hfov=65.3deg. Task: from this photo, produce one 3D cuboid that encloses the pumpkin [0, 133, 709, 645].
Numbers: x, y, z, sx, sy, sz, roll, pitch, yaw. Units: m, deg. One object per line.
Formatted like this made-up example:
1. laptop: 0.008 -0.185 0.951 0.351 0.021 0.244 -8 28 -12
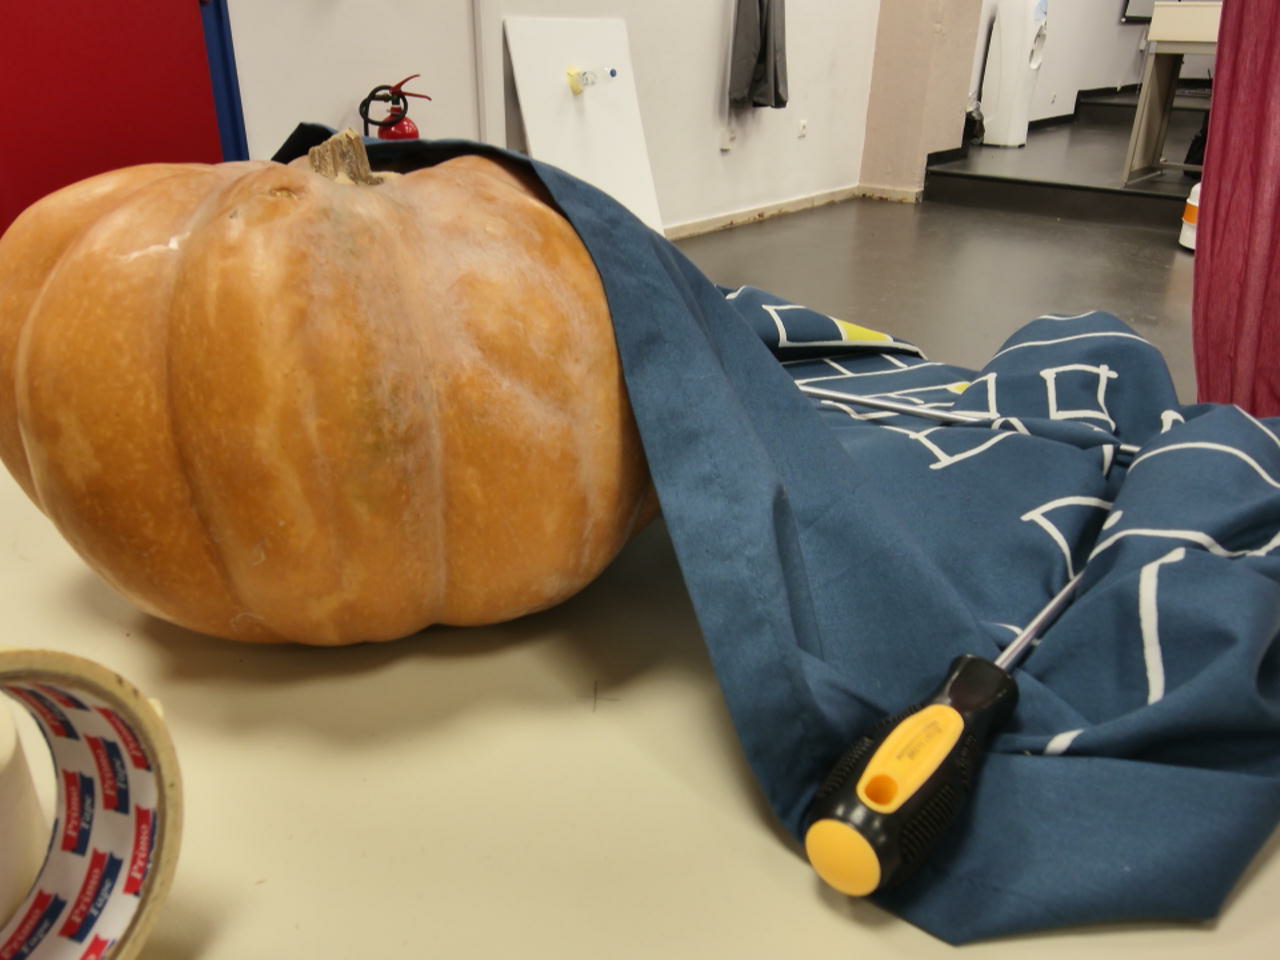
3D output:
1. pumpkin: -0.110 -0.043 0.400 0.277 0.181 0.277 0 23 0
